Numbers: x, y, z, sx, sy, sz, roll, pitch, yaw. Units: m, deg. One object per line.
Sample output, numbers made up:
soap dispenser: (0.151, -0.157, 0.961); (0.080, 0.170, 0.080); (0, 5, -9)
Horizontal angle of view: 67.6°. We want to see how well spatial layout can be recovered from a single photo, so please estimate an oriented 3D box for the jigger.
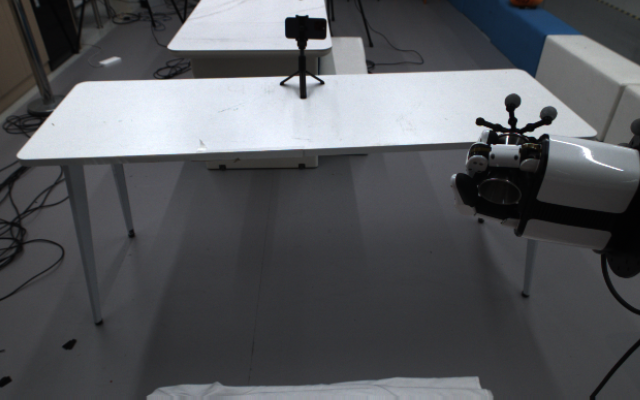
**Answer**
jigger: (0.202, -0.037, 0.521); (0.043, 0.043, 0.071); (15, 58, 18)
